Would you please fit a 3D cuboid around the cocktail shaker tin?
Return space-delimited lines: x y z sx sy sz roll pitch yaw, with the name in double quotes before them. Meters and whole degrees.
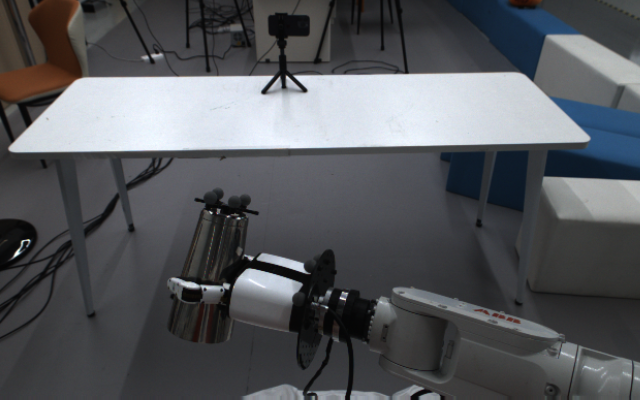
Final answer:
"cocktail shaker tin" -0.148 0.100 0.672 0.093 0.170 0.093 13 5 -1
